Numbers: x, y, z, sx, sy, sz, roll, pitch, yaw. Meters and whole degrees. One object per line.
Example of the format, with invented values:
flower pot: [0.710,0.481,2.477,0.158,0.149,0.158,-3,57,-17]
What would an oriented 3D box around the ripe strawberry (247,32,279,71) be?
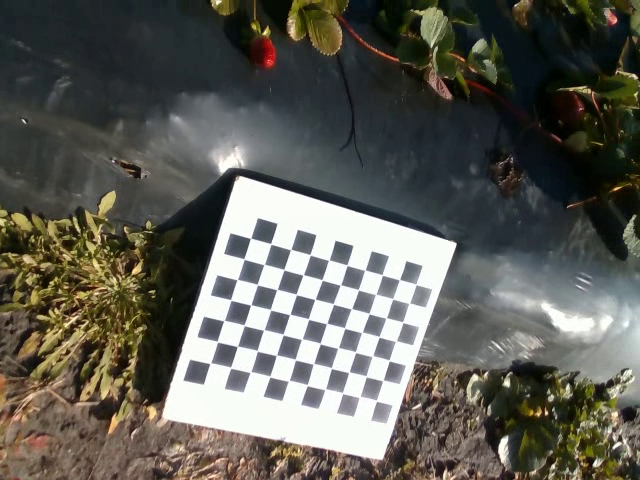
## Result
ripe strawberry: [-0.047,-0.166,0.724,0.028,0.031,0.041,-10,48,-19]
